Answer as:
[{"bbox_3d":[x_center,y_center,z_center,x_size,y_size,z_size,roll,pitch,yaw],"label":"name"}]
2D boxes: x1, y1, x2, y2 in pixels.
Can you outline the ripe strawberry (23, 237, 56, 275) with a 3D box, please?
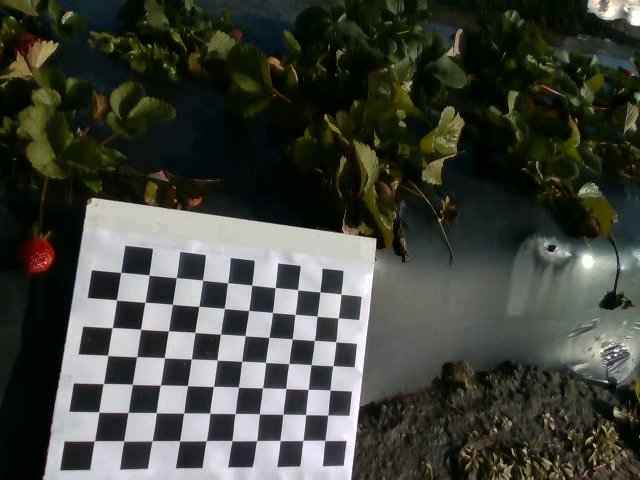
[{"bbox_3d":[-0.211,0.014,0.464,0.034,0.033,0.038,7,32,-23],"label":"ripe strawberry"}]
